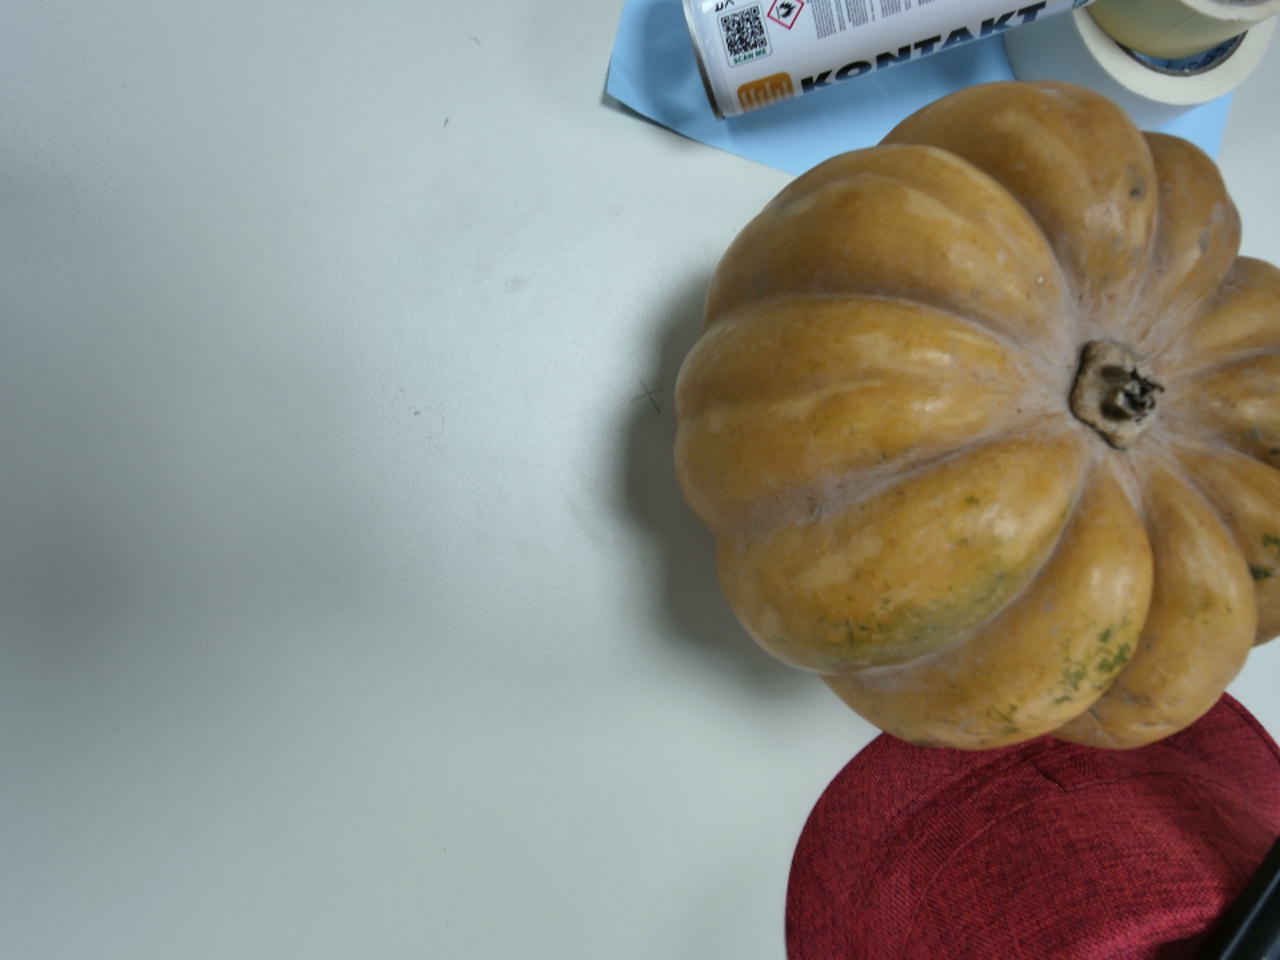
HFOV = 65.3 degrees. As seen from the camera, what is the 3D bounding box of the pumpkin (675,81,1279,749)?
[{"bbox_3d":[0.122,-0.016,0.362,0.230,0.194,0.230,0,90,-12],"label":"pumpkin"}]
